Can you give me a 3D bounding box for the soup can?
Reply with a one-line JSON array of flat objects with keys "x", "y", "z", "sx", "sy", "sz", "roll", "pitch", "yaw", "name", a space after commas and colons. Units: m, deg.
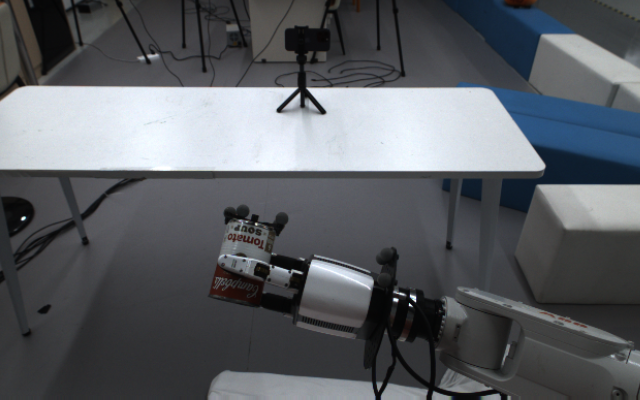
[{"x": -0.098, "y": 0.084, "z": 0.630, "sx": 0.067, "sy": 0.067, "sz": 0.101, "roll": 9, "pitch": 74, "yaw": 9, "name": "soup can"}]
